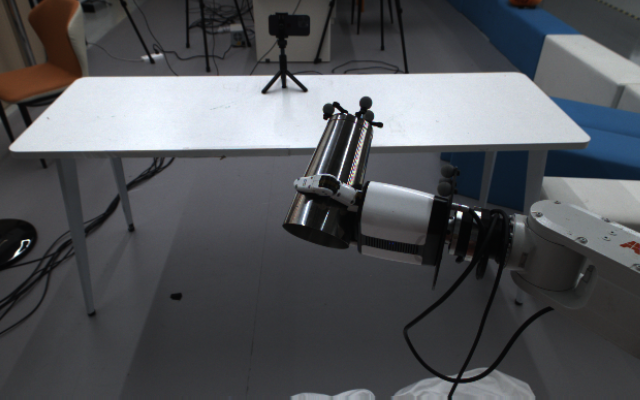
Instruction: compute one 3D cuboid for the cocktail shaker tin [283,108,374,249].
[{"bbox_3d":[0.017,-0.029,0.659,0.093,0.093,0.170,14,72,17],"label":"cocktail shaker tin"}]
